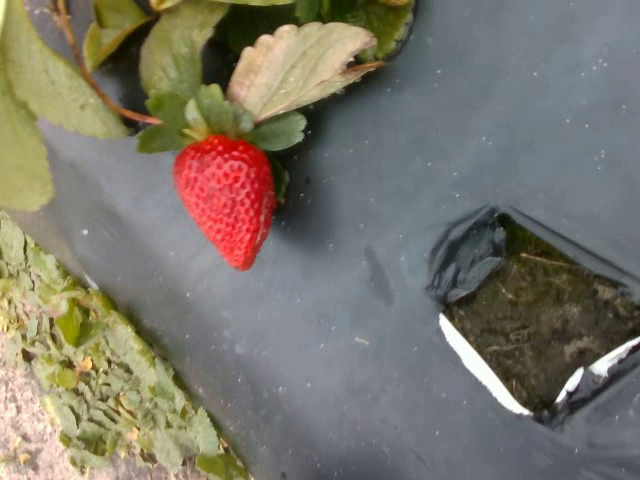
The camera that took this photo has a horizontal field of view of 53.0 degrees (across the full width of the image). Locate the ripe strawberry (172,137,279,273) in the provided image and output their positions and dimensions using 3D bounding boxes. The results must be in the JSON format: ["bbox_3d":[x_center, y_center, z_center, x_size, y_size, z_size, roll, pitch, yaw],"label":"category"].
[{"bbox_3d":[-0.038,-0.014,0.254,0.048,0.064,0.046,-7,-15,-2],"label":"ripe strawberry"}]
